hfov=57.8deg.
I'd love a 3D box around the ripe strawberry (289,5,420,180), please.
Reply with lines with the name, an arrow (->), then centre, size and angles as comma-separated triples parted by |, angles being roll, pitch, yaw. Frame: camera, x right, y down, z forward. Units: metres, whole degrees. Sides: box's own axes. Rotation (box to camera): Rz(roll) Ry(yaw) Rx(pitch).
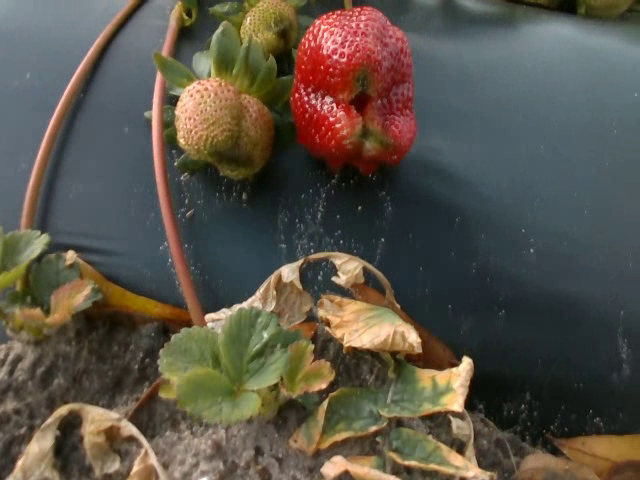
ripe strawberry -> 0.011, -0.060, 0.206 | 0.066, 0.075, 0.053 | -6, -15, -6
